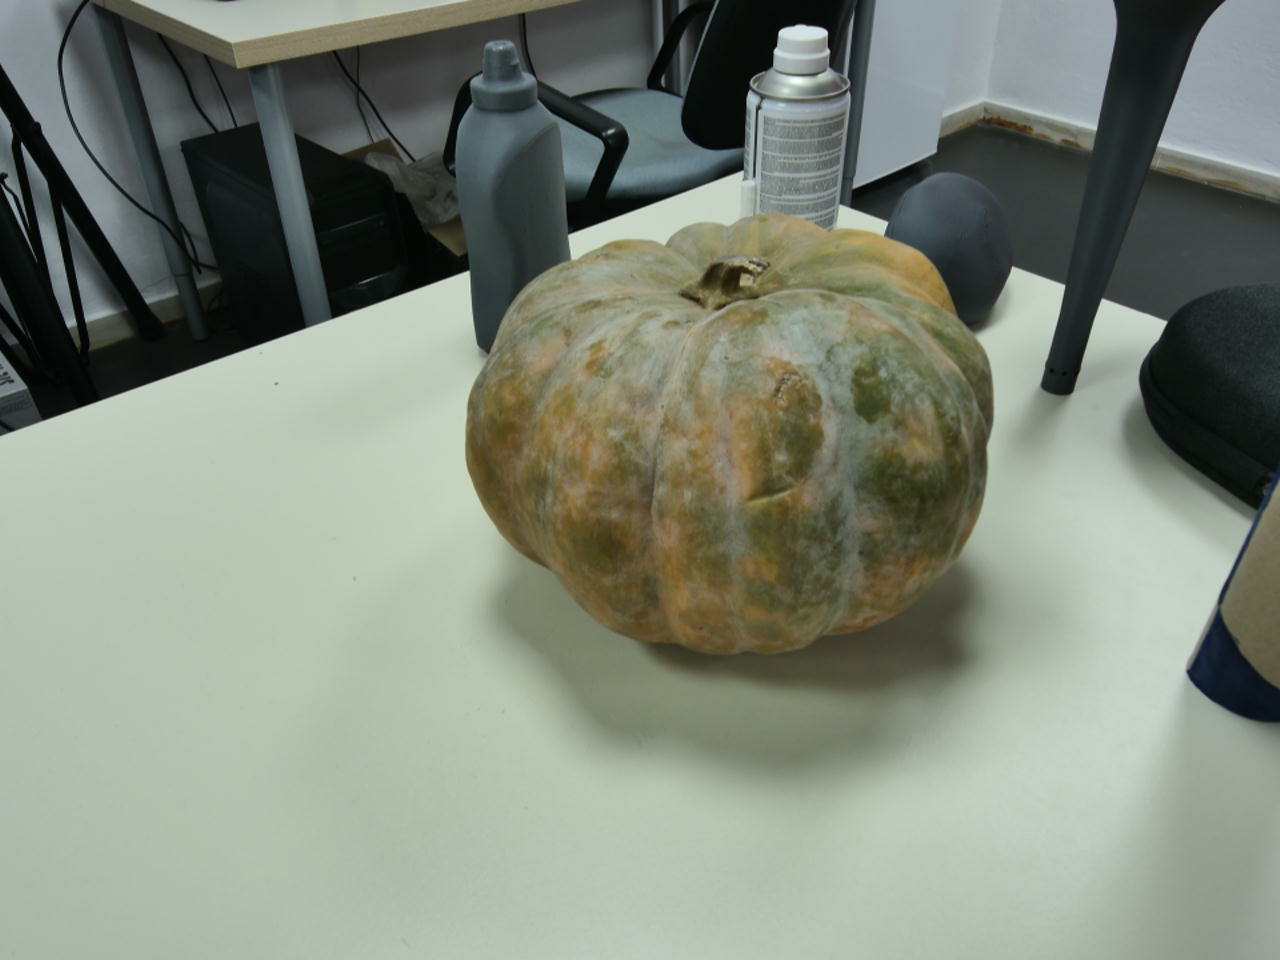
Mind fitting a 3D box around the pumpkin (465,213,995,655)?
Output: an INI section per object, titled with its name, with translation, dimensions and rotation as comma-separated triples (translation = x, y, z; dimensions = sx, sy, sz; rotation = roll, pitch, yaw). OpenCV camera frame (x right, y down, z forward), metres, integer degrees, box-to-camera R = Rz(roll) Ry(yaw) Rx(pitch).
[pumpkin]
translation = 0.041, -0.030, 0.475
dimensions = 0.252, 0.169, 0.251
rotation = 0, 36, 0
